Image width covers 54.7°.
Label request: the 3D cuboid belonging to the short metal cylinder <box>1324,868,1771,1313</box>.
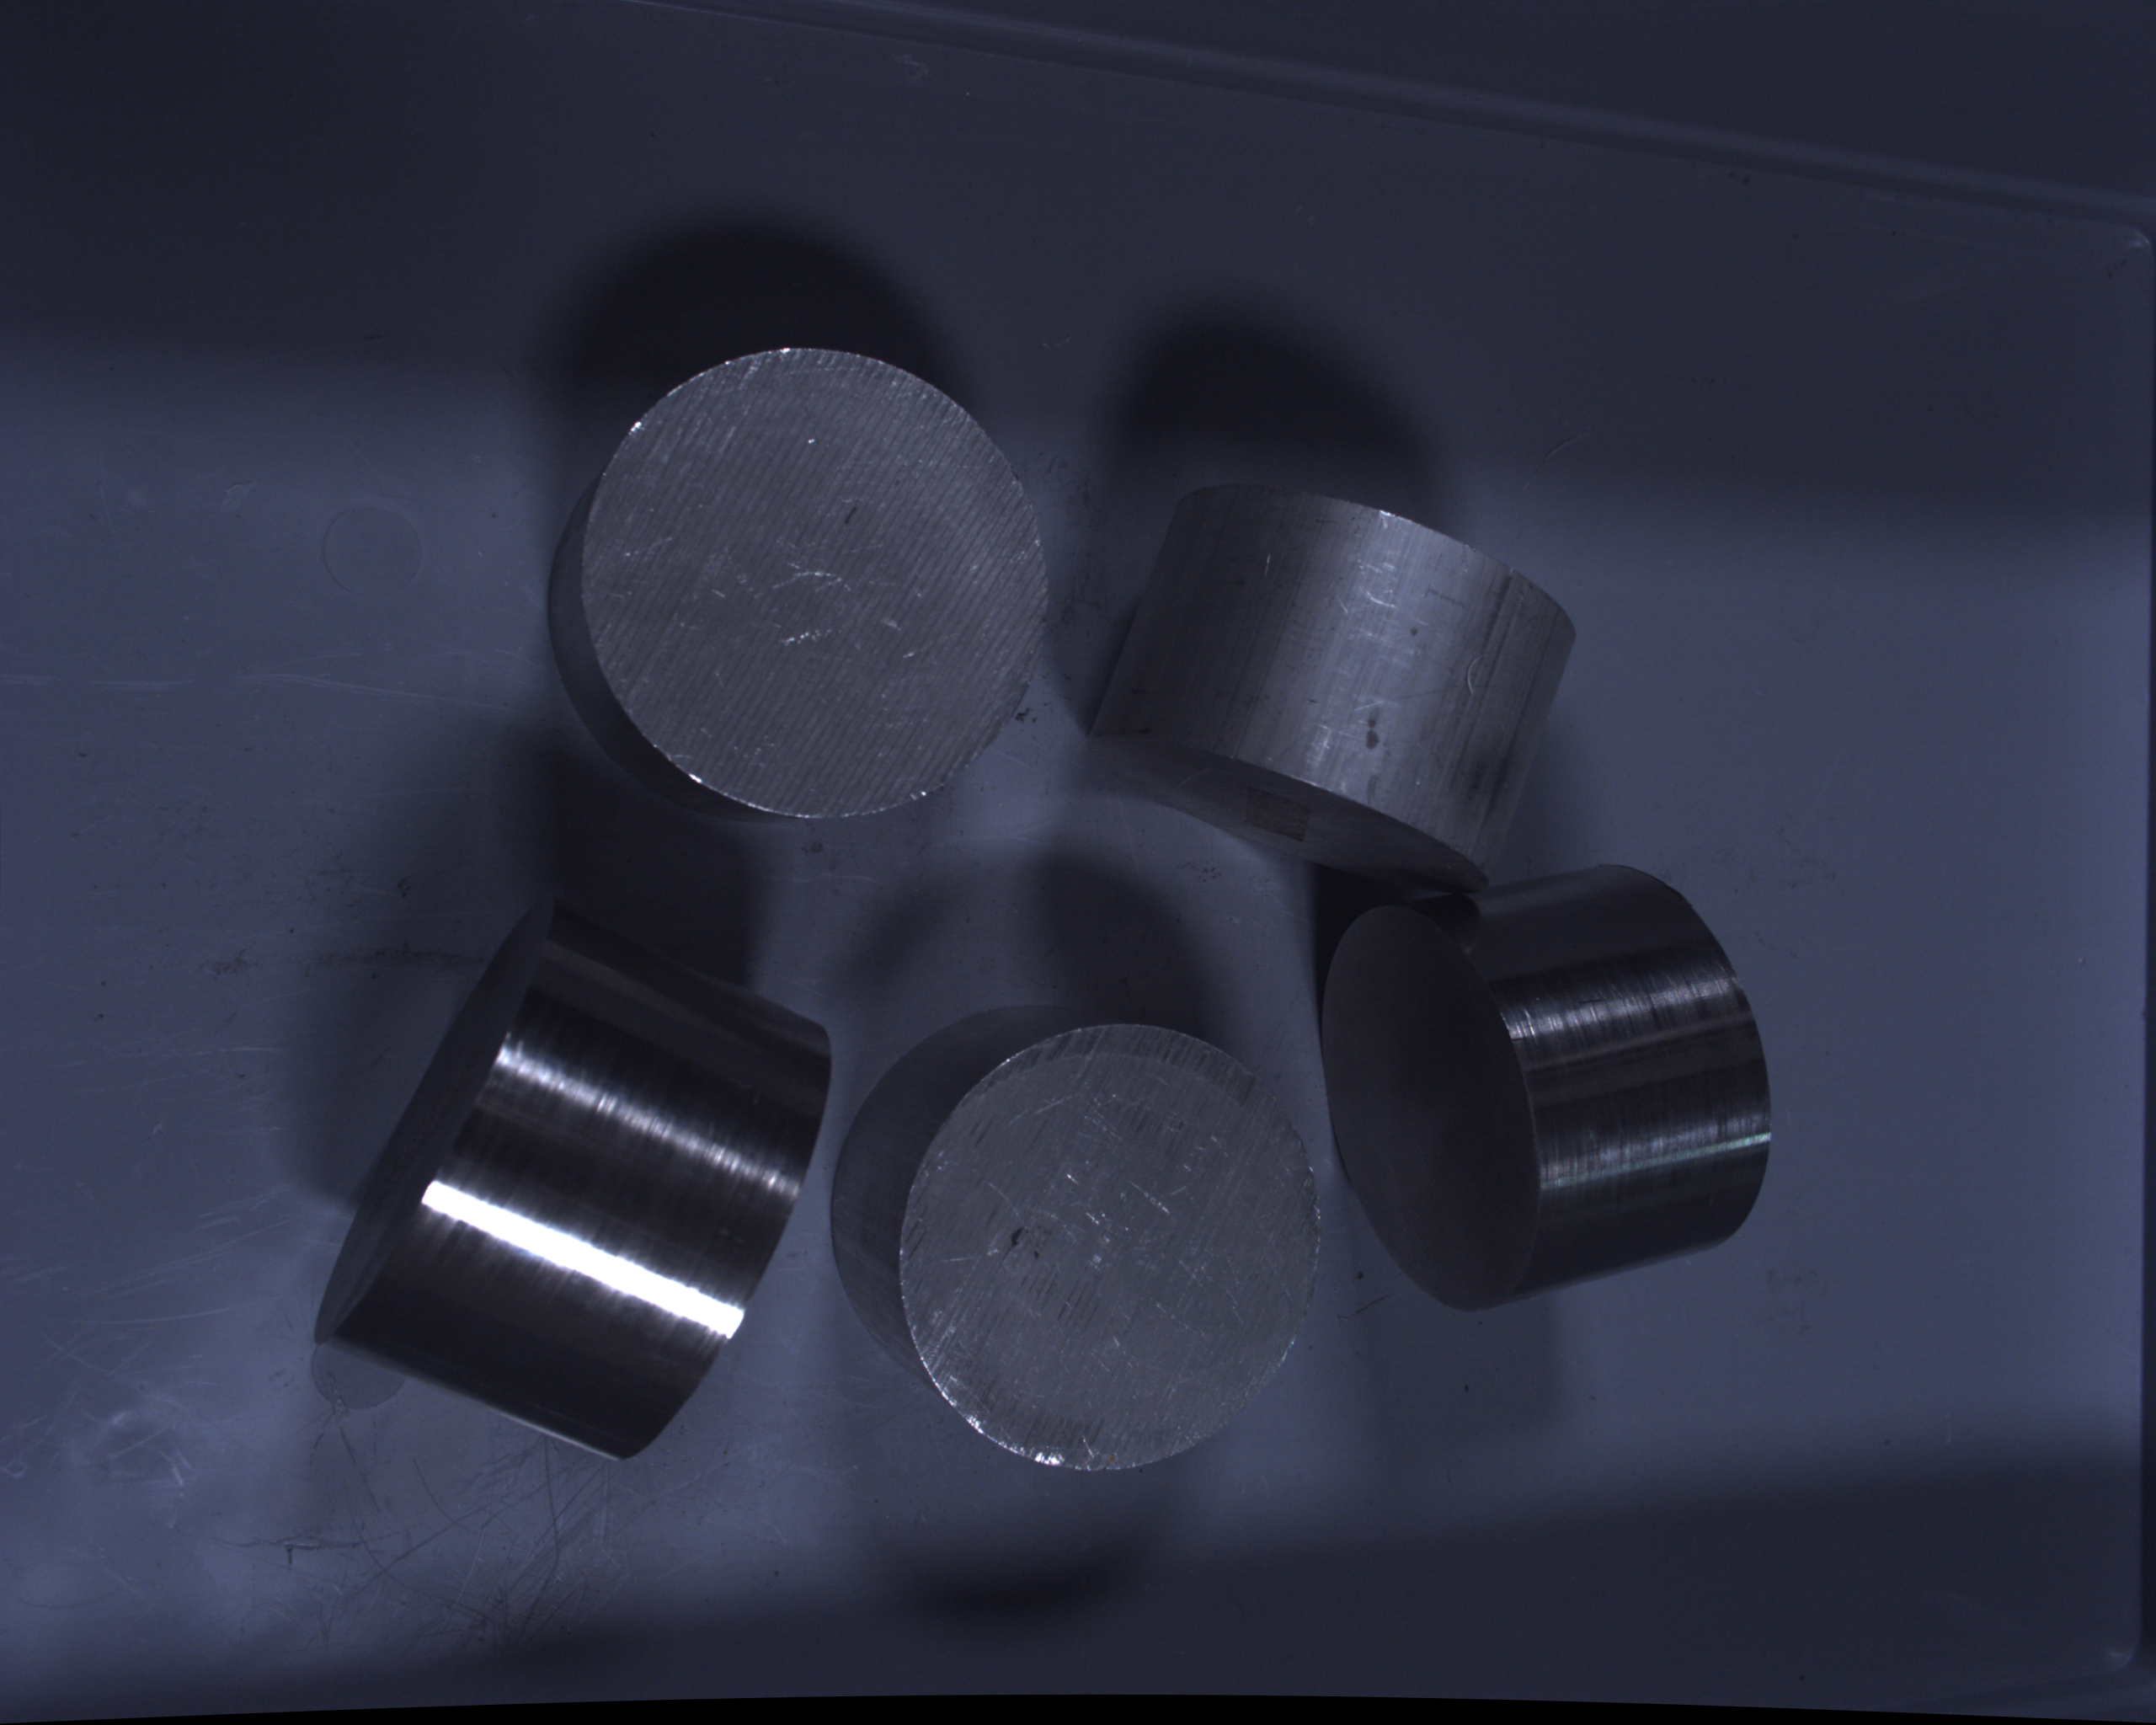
[{"bbox_3d":[0.090,0.044,0.414,0.050,0.080,0.079,-10,94,-20],"label":"short metal cylinder"}]

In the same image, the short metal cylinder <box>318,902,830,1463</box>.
[{"bbox_3d":[-0.084,0.053,0.349,0.050,0.080,0.080,29,81,-18],"label":"short metal cylinder"}]

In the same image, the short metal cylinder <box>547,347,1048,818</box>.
[{"bbox_3d":[-0.052,-0.048,0.377,0.081,0.050,0.079,0,90,-21],"label":"short metal cylinder"}]

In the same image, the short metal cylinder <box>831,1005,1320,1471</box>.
[{"bbox_3d":[-0.002,0.069,0.396,0.081,0.050,0.079,0,90,-21],"label":"short metal cylinder"}]

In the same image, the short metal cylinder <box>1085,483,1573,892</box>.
[{"bbox_3d":[0.048,-0.032,0.400,0.080,0.080,0.050,23,83,-19],"label":"short metal cylinder"}]
